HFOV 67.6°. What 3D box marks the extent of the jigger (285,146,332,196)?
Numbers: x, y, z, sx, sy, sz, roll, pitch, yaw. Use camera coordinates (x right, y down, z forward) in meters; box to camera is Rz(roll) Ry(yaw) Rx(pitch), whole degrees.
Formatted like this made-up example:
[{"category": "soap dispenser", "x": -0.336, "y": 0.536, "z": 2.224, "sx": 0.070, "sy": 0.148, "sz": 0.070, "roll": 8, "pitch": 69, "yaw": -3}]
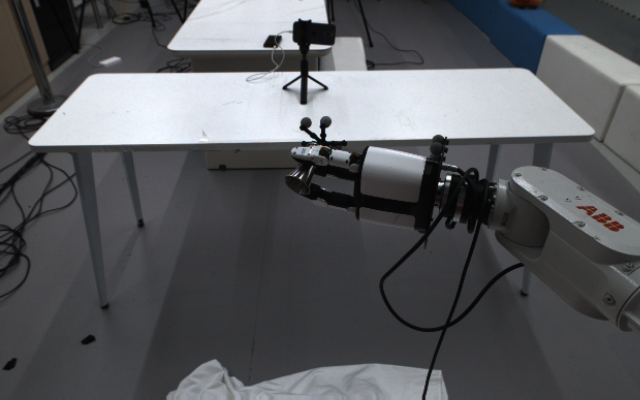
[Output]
[{"category": "jigger", "x": -0.020, "y": -0.051, "z": 0.713, "sx": 0.043, "sy": 0.043, "sz": 0.071, "roll": 19, "pitch": 61, "yaw": 23}]
